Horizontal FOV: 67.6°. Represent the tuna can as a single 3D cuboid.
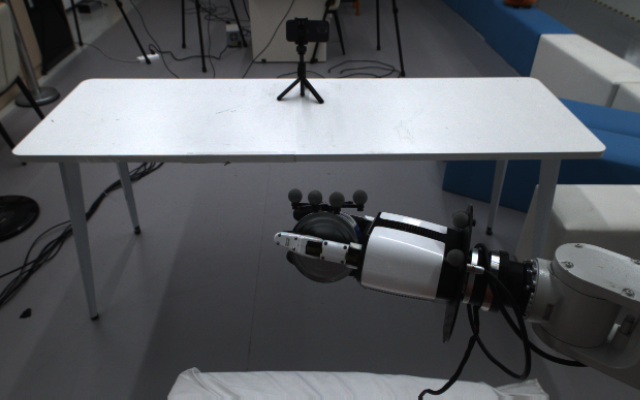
[{"bbox_3d":[0.011,0.058,0.578,0.085,0.085,0.034,12,8,14],"label":"tuna can"}]
